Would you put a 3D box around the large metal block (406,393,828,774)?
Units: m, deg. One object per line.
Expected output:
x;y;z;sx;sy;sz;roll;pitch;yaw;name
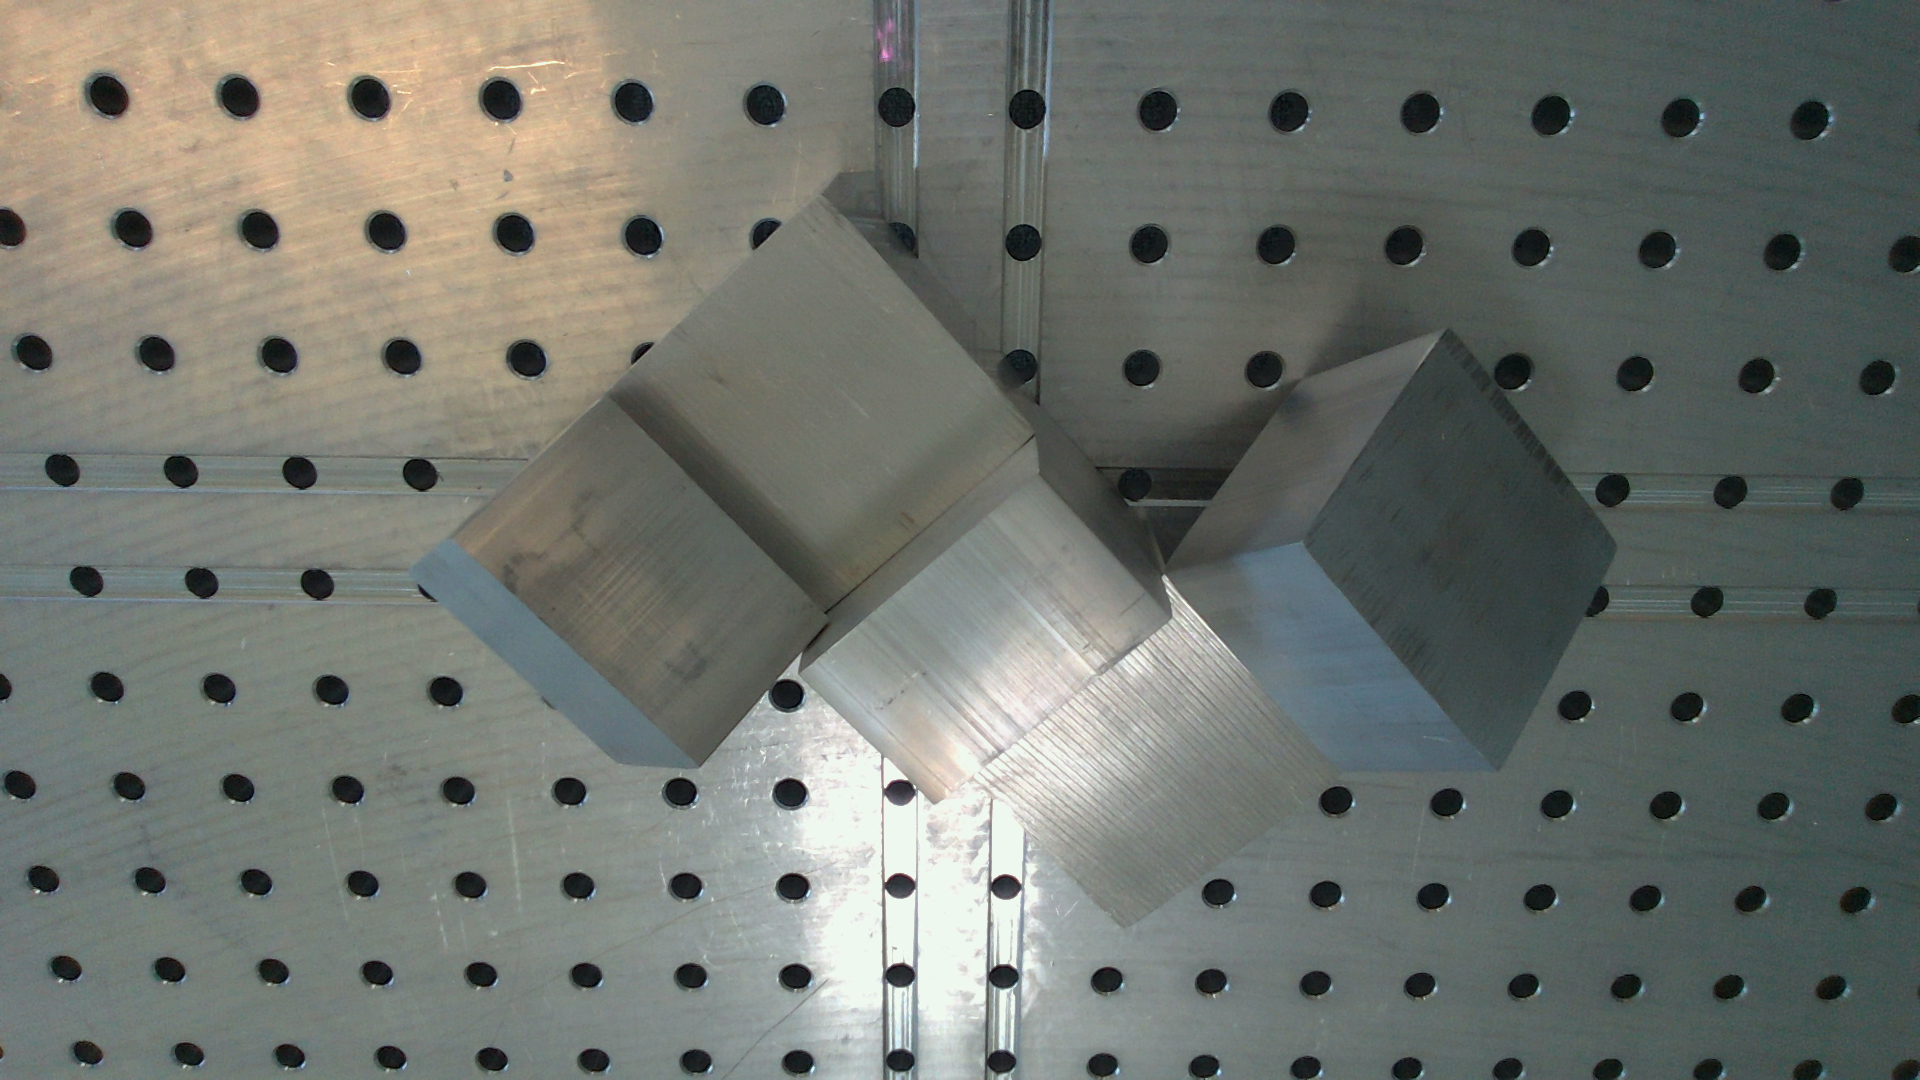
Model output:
-0.094;0.015;0.364;0.080;0.080;0.050;47;65;-15;large metal block

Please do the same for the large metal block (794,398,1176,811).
0.005;0.012;0.371;0.080;0.080;0.050;-40;107;13;large metal block

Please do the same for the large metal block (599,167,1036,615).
-0.037;-0.040;0.368;0.080;0.050;0.080;-40;106;14;large metal block

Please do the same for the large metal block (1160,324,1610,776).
0.113;0.005;0.363;0.080;0.050;0.080;47;64;-16;large metal block

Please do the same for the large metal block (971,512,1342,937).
0.050;0.053;0.403;0.080;0.050;0.080;-39;104;13;large metal block
